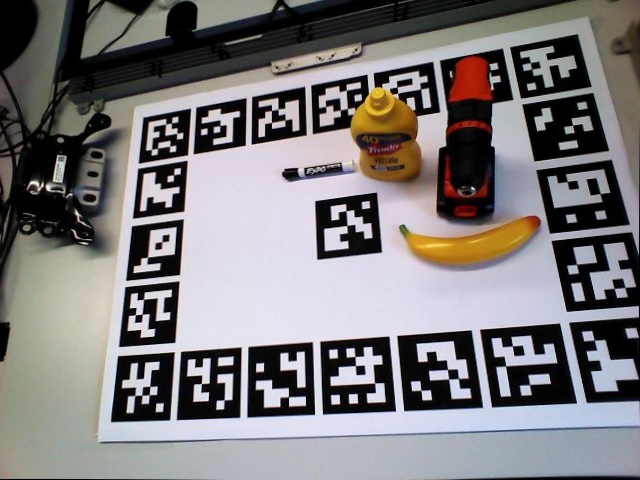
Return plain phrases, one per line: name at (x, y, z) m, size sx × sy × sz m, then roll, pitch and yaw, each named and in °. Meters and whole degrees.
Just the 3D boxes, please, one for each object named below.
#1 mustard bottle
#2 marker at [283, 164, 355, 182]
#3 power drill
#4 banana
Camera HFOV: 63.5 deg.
mustard bottle at (0.100, -0.144, 0.759) m, size 0.097 × 0.191 × 0.058 m, roll 5°, pitch 72°, yaw 15°
marker at (-0.003, -0.112, 0.869) m, size 0.122 × 0.019 × 0.019 m, roll -4°, pitch 71°, yaw 14°
power drill at (0.200, -0.099, 0.698) m, size 0.057 × 0.187 × 0.183 m, roll 8°, pitch 71°, yaw 15°
banana at (0.215, 0.015, 0.759) m, size 0.198 × 0.039 × 0.074 m, roll 1°, pitch 73°, yaw 17°
